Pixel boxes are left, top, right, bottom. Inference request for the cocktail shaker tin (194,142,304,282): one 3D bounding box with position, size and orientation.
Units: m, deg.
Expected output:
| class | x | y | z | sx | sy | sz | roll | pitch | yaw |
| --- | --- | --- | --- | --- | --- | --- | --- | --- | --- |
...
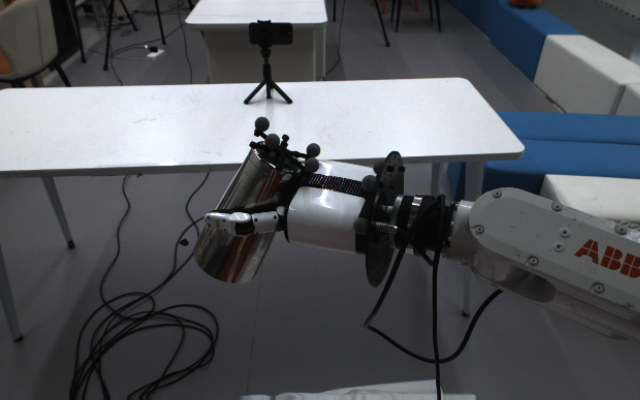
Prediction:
| class | x | y | z | sx | sy | sz | roll | pitch | yaw |
| --- | --- | --- | --- | --- | --- | --- | --- | --- | --- |
| cocktail shaker tin | -0.086 | 0.010 | 0.615 | 0.093 | 0.170 | 0.093 | 25 | 29 | -15 |
